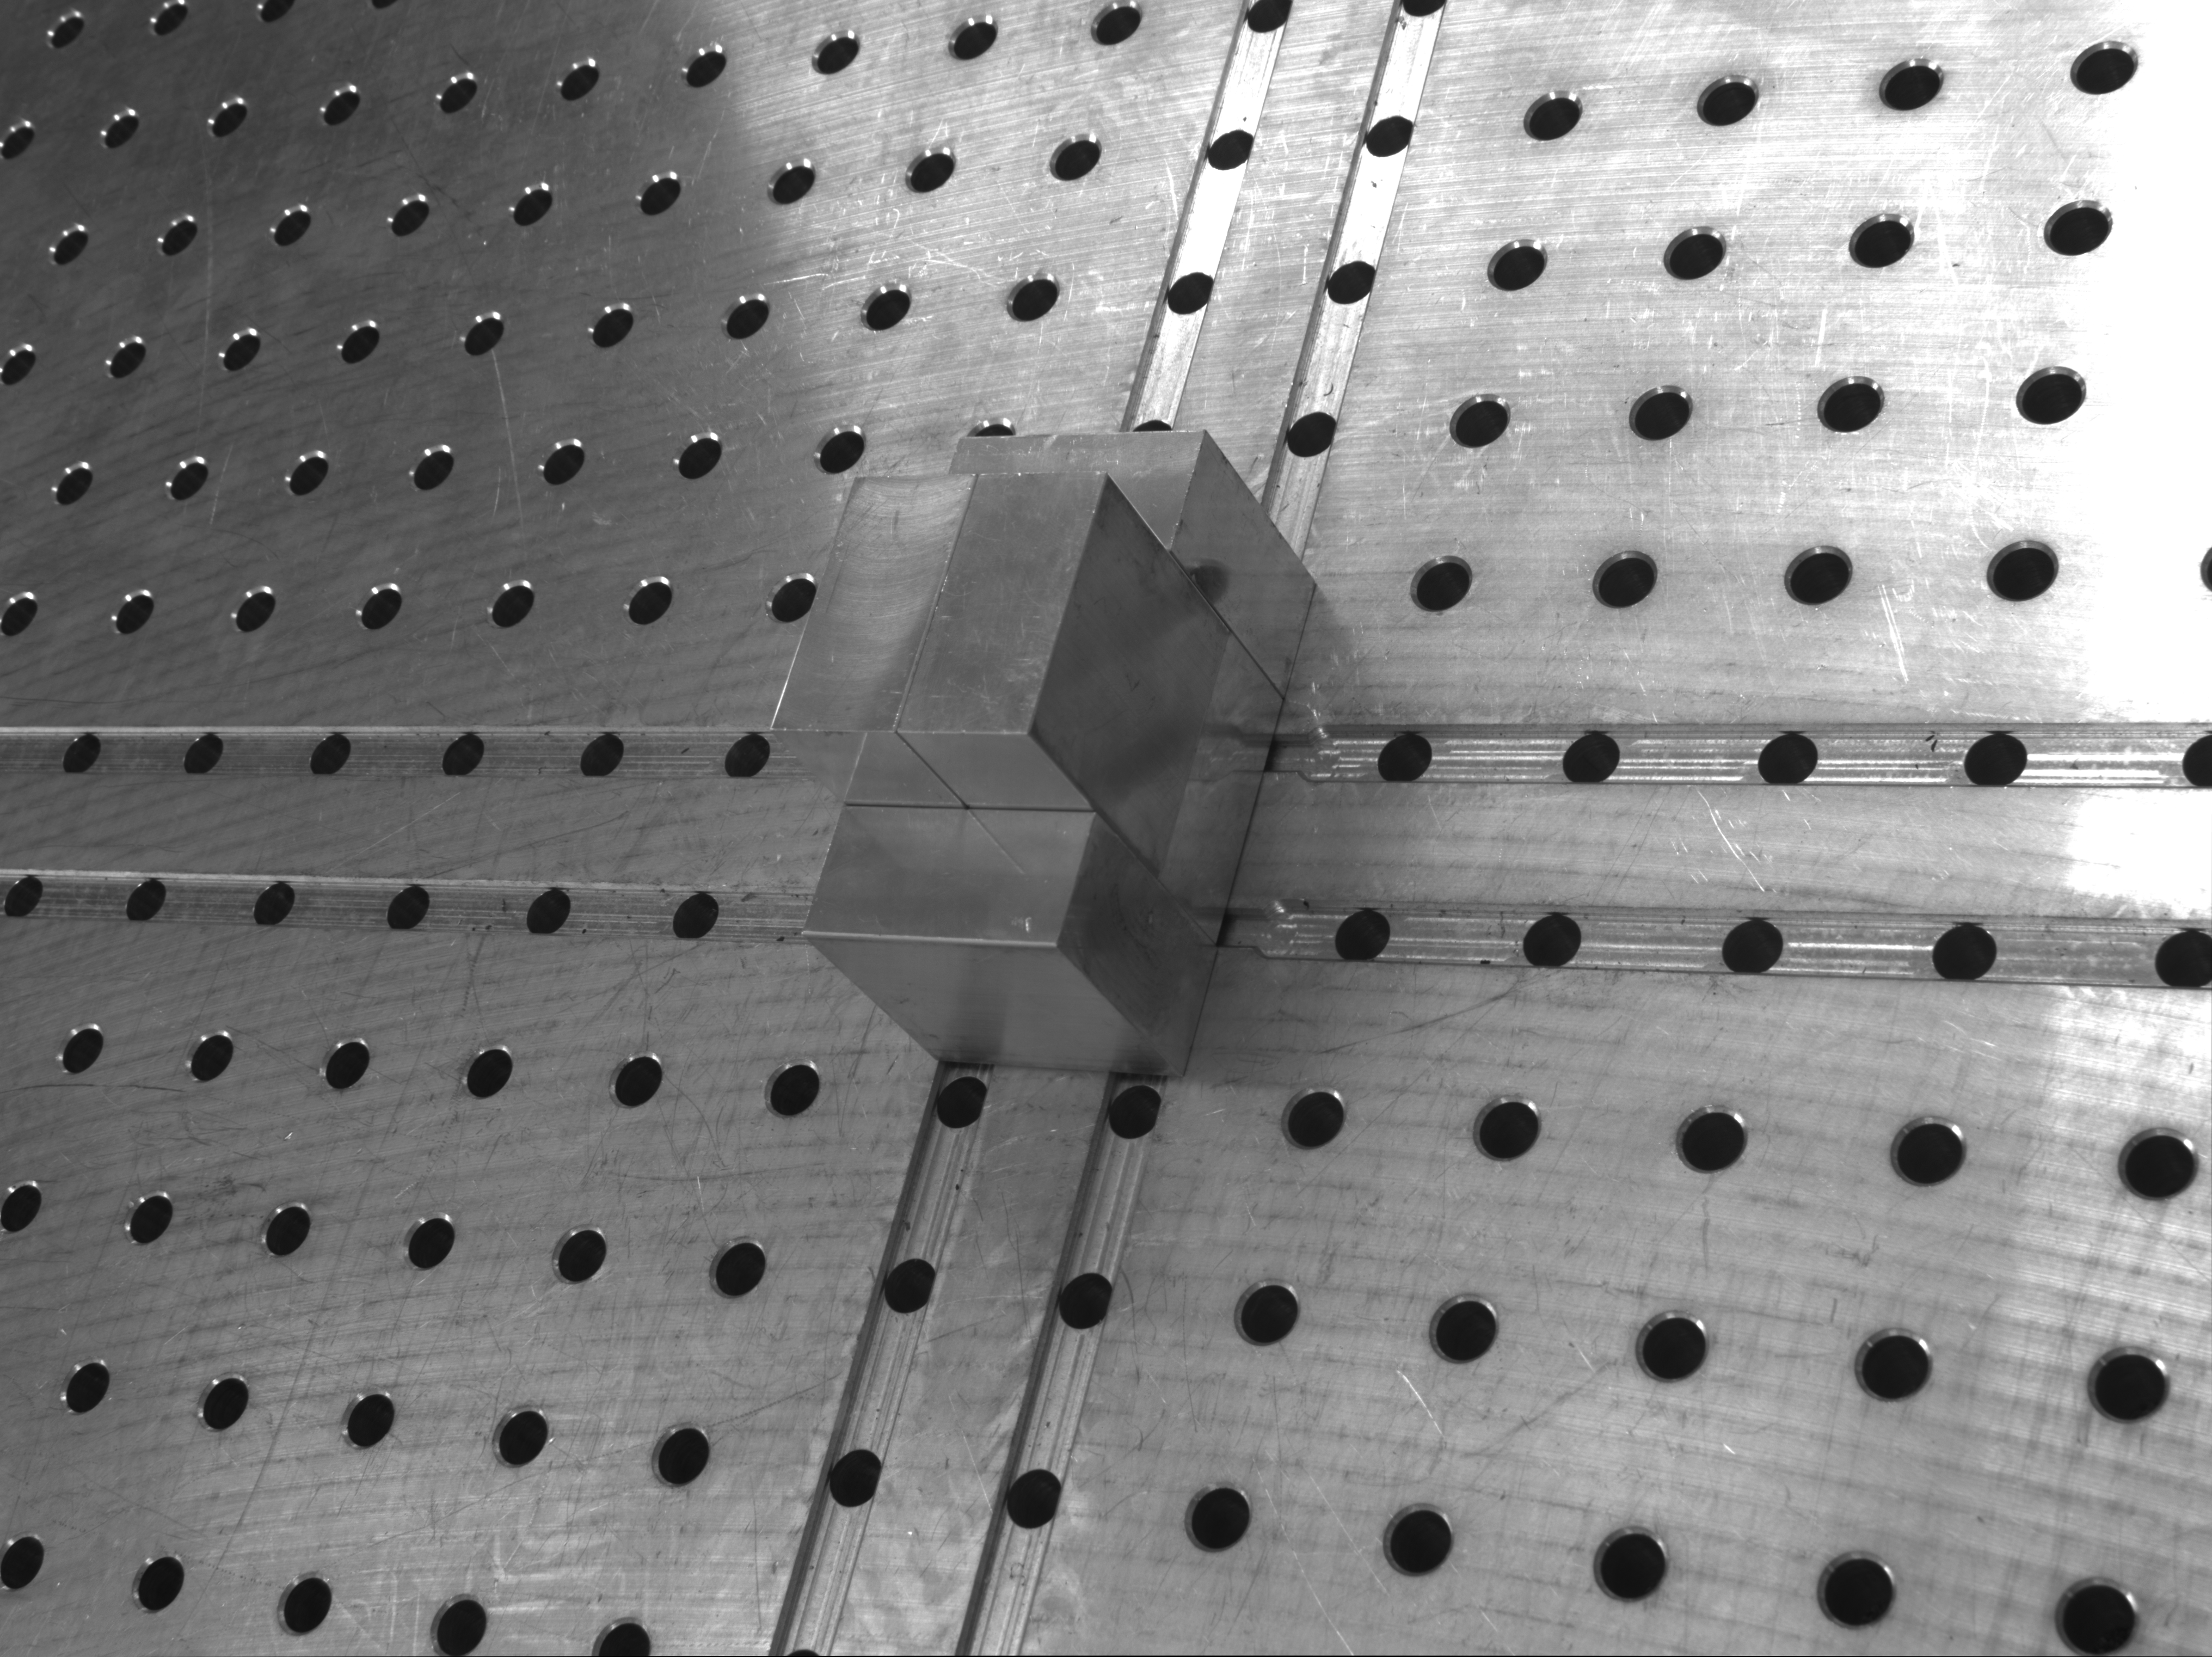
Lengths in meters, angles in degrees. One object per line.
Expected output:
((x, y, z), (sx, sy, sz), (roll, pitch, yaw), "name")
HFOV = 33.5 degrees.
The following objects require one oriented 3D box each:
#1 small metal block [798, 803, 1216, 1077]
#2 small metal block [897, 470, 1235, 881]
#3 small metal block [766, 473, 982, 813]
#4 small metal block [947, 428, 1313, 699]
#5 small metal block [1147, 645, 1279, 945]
((-0.016, 0.019, 0.629), (0.050, 0.050, 0.025), (1, 62, 29), "small metal block")
((-0.006, -0.025, 0.619), (0.025, 0.050, 0.050), (1, 62, 31), "small metal block")
((-0.029, -0.026, 0.631), (0.025, 0.050, 0.050), (2, 62, 29), "small metal block")
((0.002, -0.047, 0.659), (0.050, 0.050, 0.025), (2, 63, 29), "small metal block")
((-0.002, -0.008, 0.654), (0.050, 0.025, 0.050), (1, 62, 30), "small metal block")
